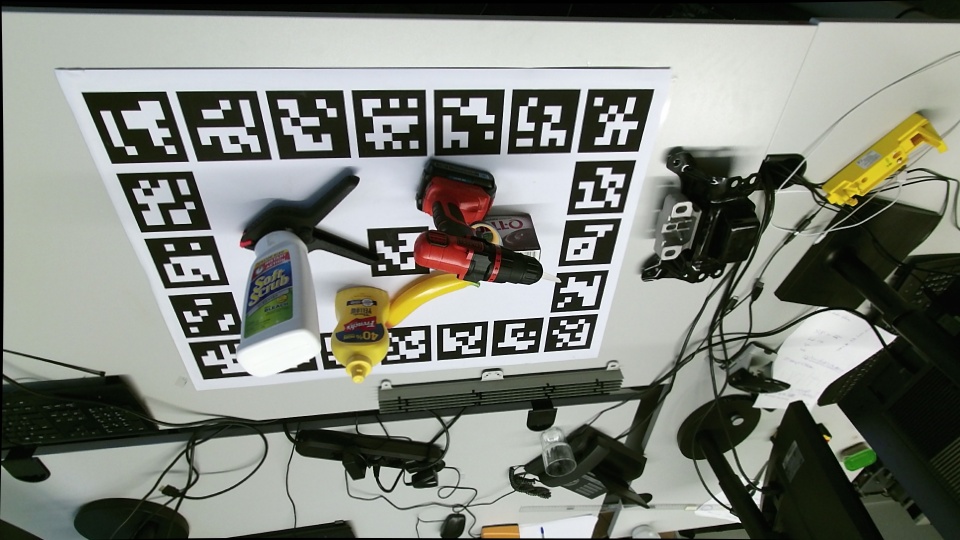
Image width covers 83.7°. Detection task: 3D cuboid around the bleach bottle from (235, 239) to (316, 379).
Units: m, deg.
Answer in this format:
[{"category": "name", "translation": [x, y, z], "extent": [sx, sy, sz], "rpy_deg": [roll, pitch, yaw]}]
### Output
[{"category": "bleach bottle", "translation": [-0.291, 0.034, 0.762], "extent": [0.103, 0.249, 0.068], "rpy_deg": [-23, 132, -3]}]

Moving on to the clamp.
[{"category": "clamp", "translation": [-0.271, -0.042, 0.839], "extent": [0.203, 0.036, 0.165], "rpy_deg": [-8, 126, -3]}]

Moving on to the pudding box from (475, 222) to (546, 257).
[{"category": "pudding box", "translation": [0.043, -0.039, 0.885], "extent": [0.114, 0.089, 0.038], "rpy_deg": [0, 133, -10]}]

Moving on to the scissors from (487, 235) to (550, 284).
[{"category": "scissors", "translation": [0.061, 0.005, 0.841], "extent": [0.203, 0.016, 0.088], "rpy_deg": [20, 117, -18]}]

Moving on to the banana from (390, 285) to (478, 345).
[{"category": "banana", "translation": [-0.099, 0.078, 0.973], "extent": [0.197, 0.038, 0.074], "rpy_deg": [-35, 142, 16]}]

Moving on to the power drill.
[{"category": "power drill", "translation": [0.000, -0.057, 0.766], "extent": [0.185, 0.186, 0.057], "rpy_deg": [6, 132, -18]}]

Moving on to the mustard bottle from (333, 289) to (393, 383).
[{"category": "mustard bottle", "translation": [-0.196, 0.112, 0.898], "extent": [0.096, 0.190, 0.058], "rpy_deg": [9, 125, -16]}]
